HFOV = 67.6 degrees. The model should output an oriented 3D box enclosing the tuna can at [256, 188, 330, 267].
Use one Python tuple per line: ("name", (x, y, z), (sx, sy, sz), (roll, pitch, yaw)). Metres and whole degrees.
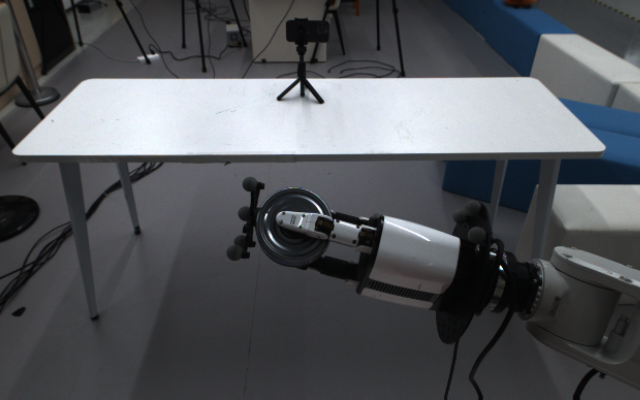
("tuna can", (-0.024, 0.034, 0.535), (0.085, 0.034, 0.085), (2, 73, -5))
